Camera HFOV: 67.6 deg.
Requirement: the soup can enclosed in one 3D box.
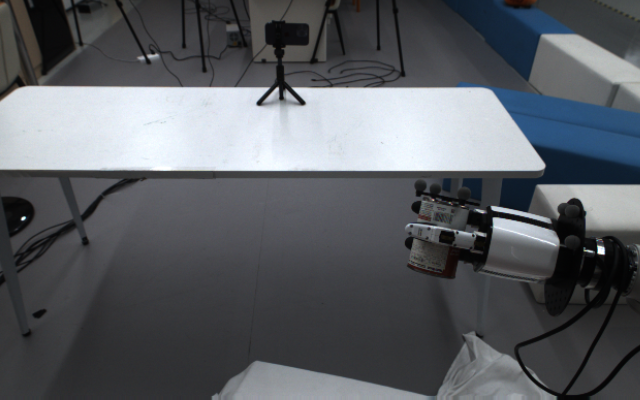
[{"bbox_3d":[0.168,0.051,0.678,0.067,0.101,0.067,12,2,0],"label":"soup can"}]
